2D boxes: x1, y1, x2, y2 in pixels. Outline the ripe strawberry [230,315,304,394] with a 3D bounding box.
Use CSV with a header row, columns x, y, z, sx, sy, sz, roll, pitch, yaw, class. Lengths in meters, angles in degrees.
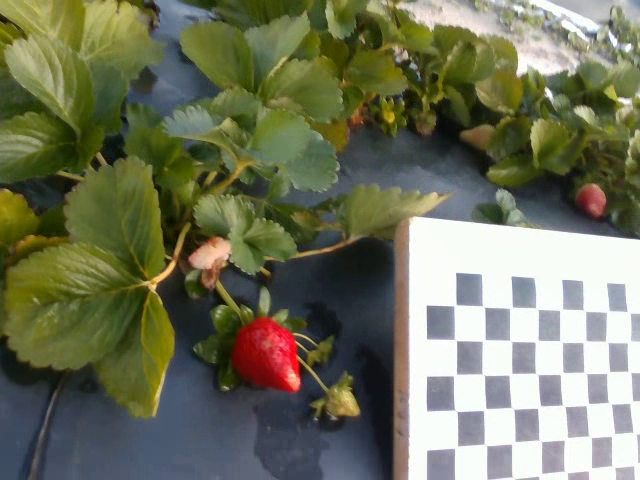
x,y,z,sx,sy,sz,roll,pitch,yaw,class
-0.027,0.077,0.358,0.043,0.052,0.057,-23,28,-20,ripe strawberry
